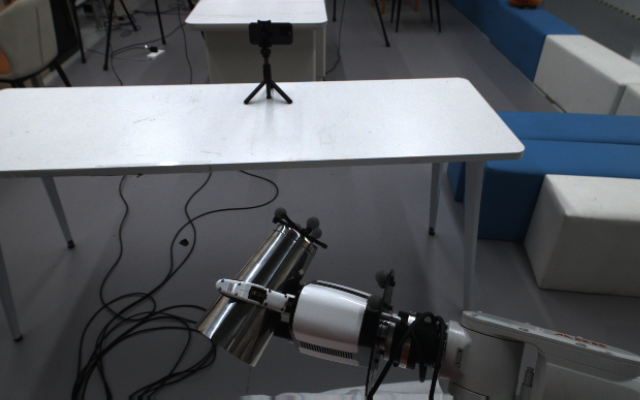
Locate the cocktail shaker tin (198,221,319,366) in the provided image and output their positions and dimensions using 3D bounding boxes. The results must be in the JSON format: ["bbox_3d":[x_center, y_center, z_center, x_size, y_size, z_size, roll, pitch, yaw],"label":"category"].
[{"bbox_3d":[-0.076,0.117,0.642,0.093,0.093,0.170,24,70,28],"label":"cocktail shaker tin"}]
